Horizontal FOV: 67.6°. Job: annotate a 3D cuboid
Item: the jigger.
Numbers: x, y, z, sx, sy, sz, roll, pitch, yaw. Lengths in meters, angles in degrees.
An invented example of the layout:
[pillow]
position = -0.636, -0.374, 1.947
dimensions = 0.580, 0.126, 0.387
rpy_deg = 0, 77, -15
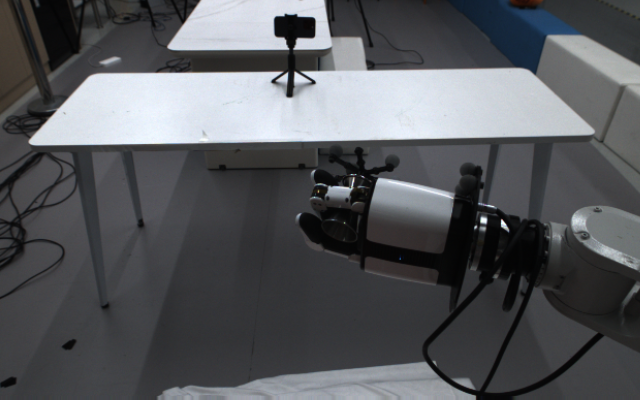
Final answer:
[jigger]
position = 0.036, 0.008, 0.553
dimensions = 0.043, 0.043, 0.071
rpy_deg = 13, 58, 16
